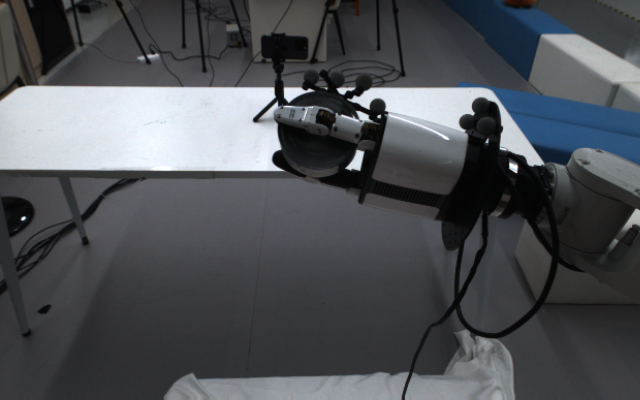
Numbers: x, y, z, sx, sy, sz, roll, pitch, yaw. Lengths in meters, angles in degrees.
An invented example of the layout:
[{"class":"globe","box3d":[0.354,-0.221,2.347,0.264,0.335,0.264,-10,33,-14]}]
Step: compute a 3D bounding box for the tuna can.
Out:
[{"class":"tuna can","box3d":[0.001,-0.070,0.509,0.085,0.034,0.085,0,72,0]}]
